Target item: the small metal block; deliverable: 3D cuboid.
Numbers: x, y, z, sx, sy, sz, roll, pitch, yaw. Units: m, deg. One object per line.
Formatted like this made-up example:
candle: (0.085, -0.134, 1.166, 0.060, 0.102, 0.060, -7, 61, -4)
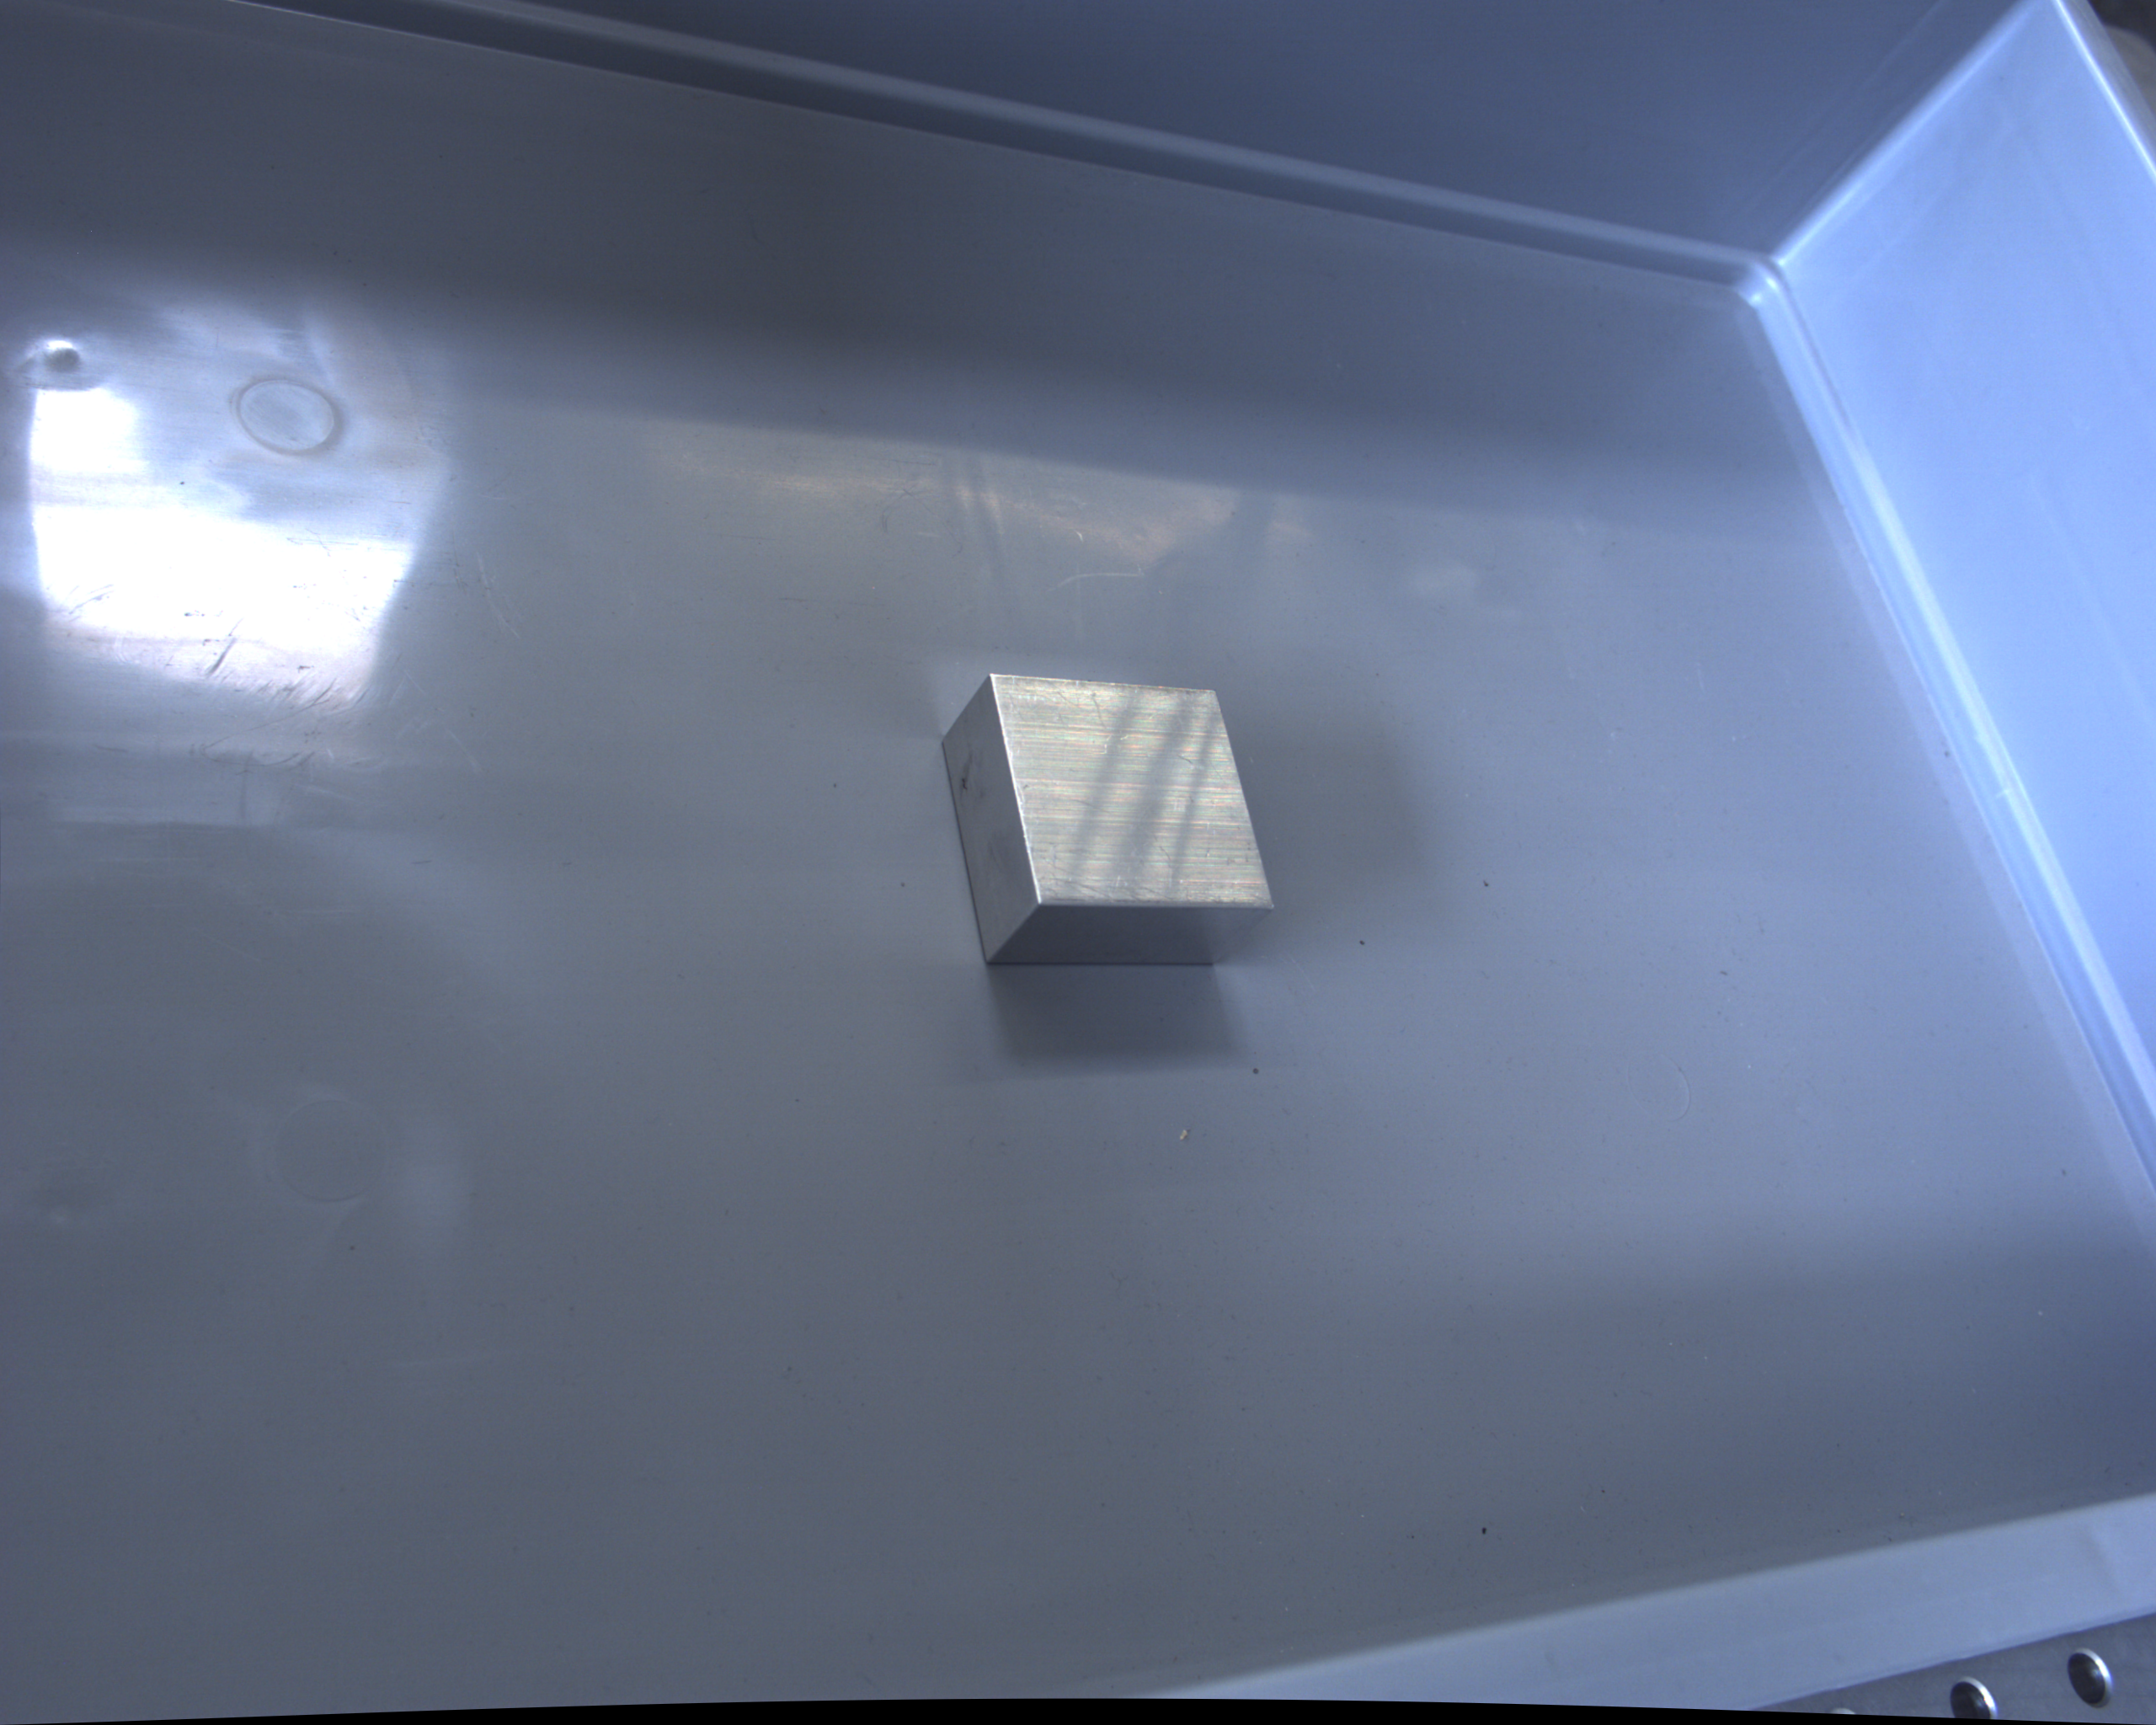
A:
small metal block: (0.005, -0.008, 0.408, 0.050, 0.025, 0.050, 1, 61, -27)
